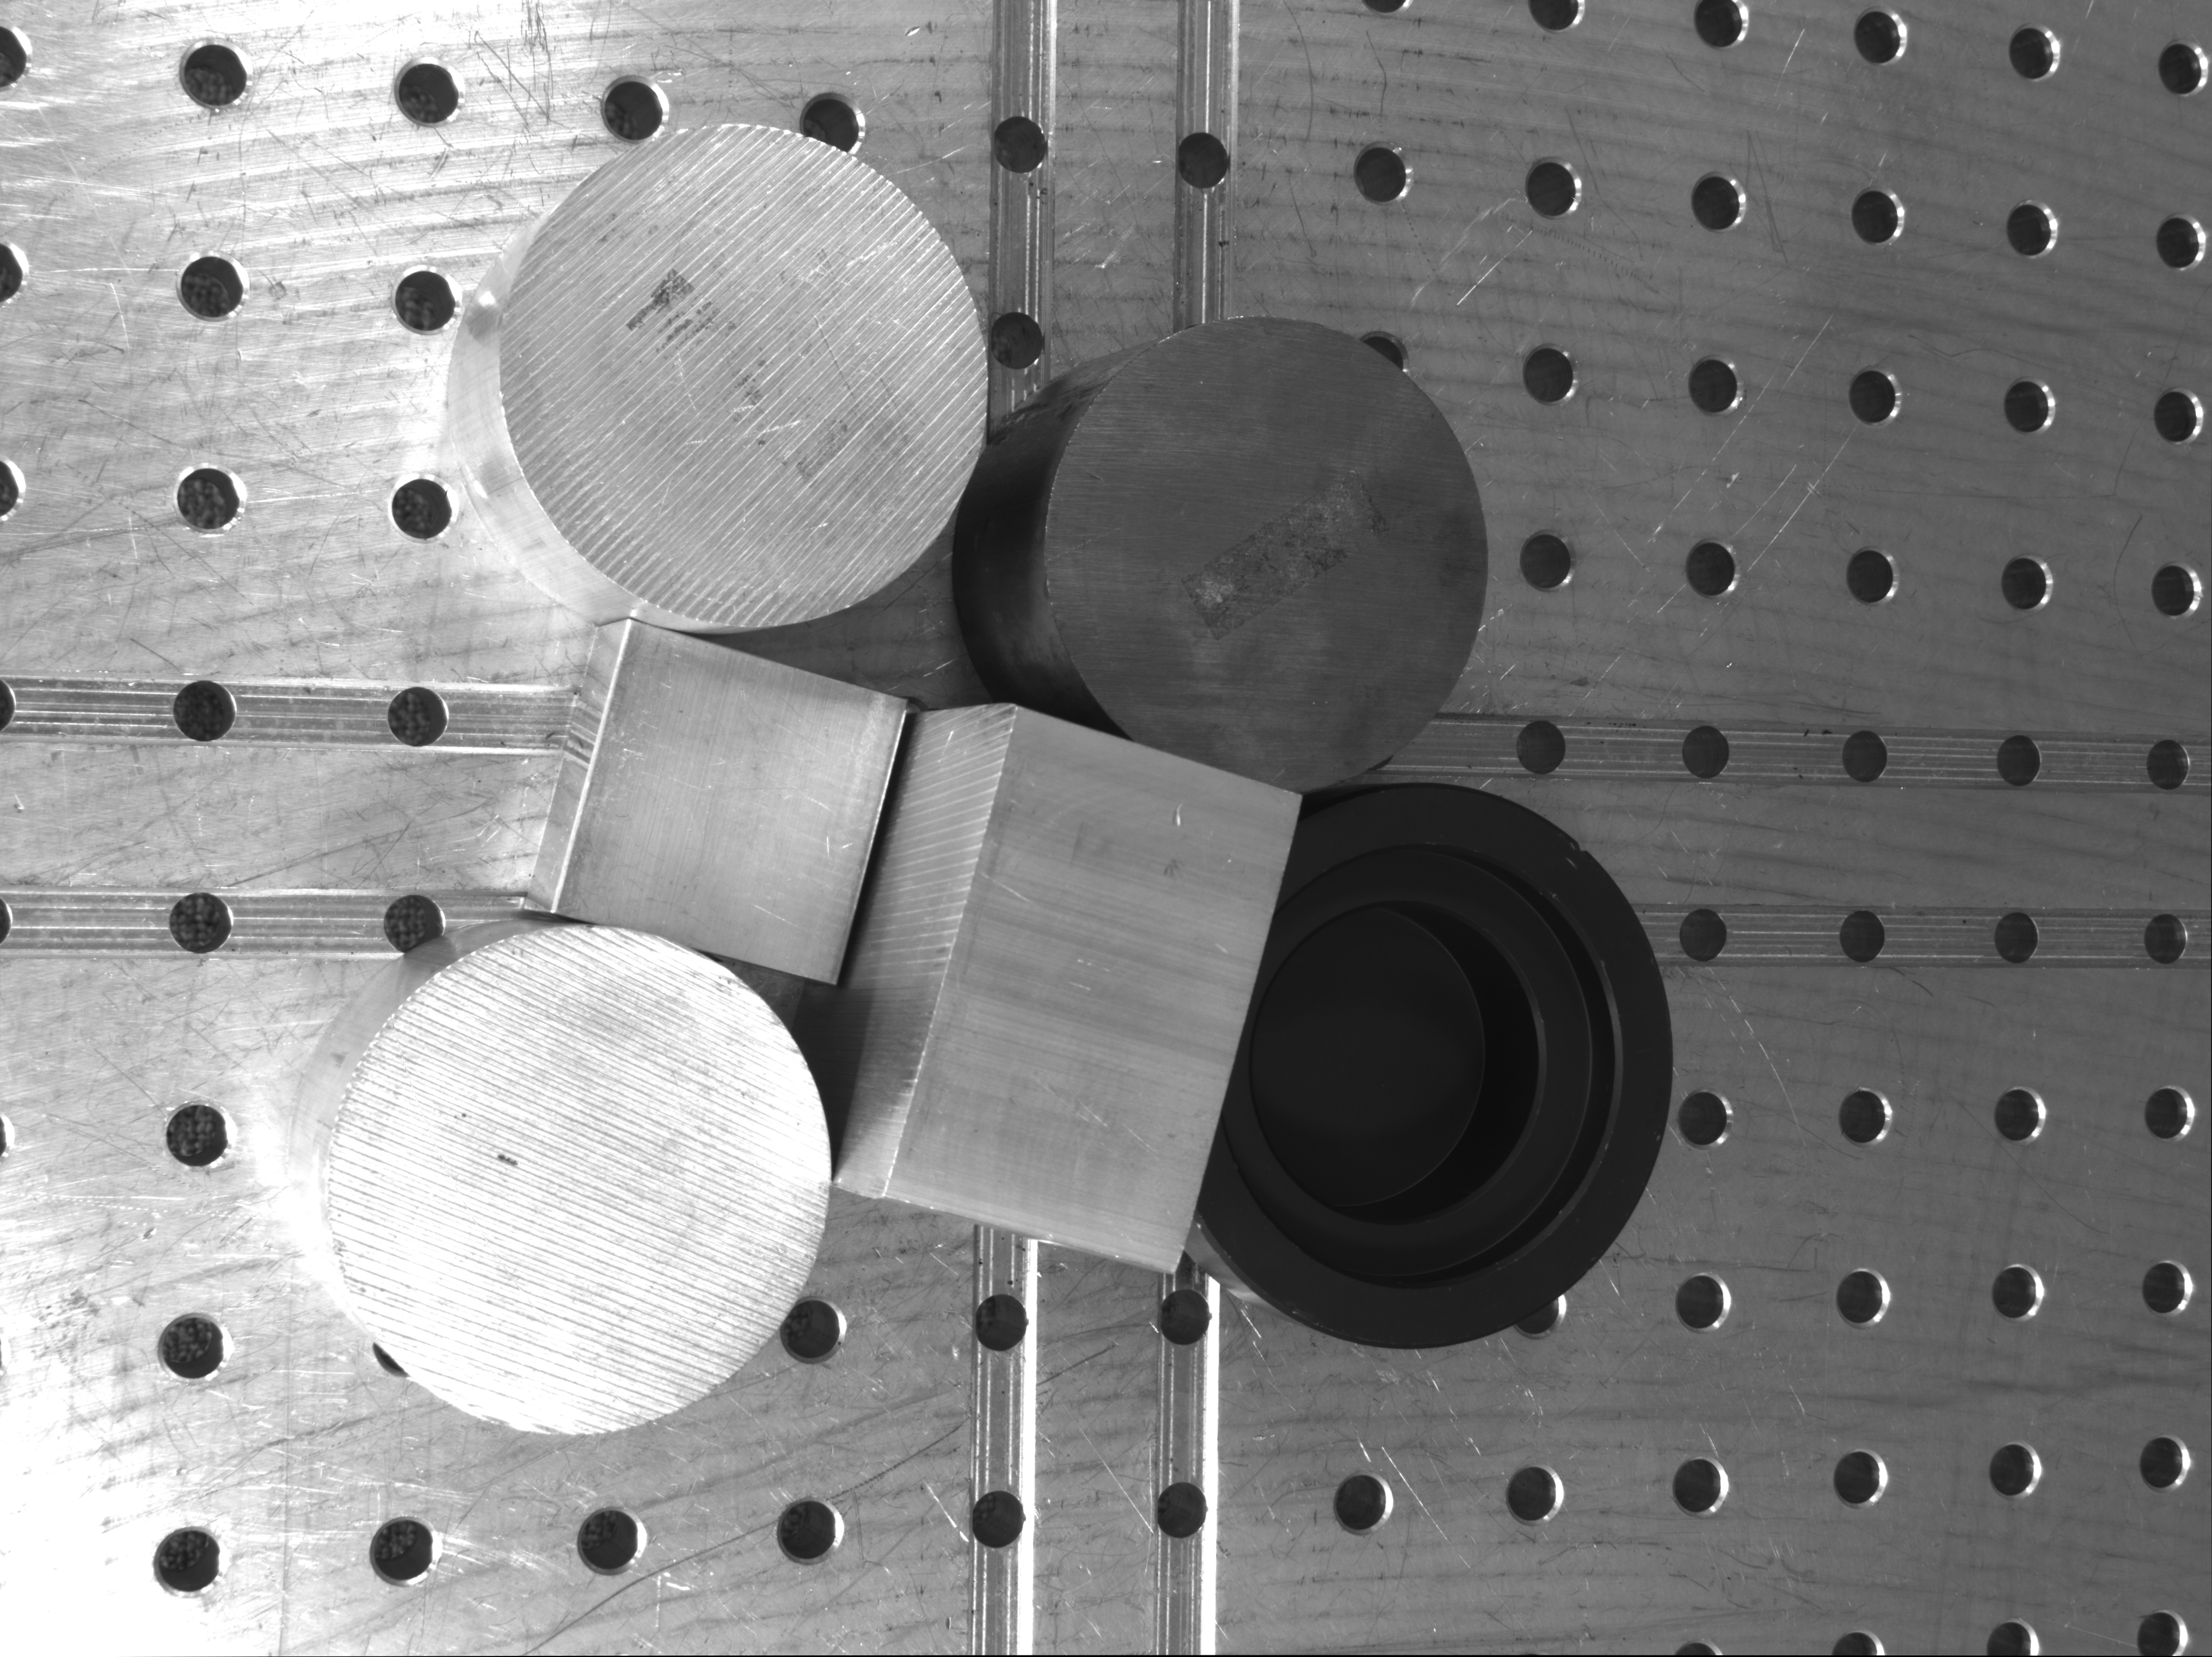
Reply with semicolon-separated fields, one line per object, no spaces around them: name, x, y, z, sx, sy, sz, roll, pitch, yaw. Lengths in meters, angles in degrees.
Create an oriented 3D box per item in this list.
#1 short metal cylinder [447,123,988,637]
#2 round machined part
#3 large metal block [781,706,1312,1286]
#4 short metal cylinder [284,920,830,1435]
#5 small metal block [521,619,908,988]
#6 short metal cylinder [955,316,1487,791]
short metal cylinder;-0.065;-0.072;0.608;0.080;0.050;0.080;0;90;-20
round machined part;0.048;0.041;0.653;0.098;0.042;0.098;0;90;-20
large metal block;-0.014;0.026;0.608;0.050;0.080;0.080;17;84;-19
short metal cylinder;-0.090;0.055;0.599;0.080;0.050;0.080;0;90;-20
small metal block;-0.067;-0.004;0.621;0.050;0.025;0.050;16;85;-19
short metal cylinder;0.019;-0.046;0.639;0.080;0.050;0.080;0;90;-20
